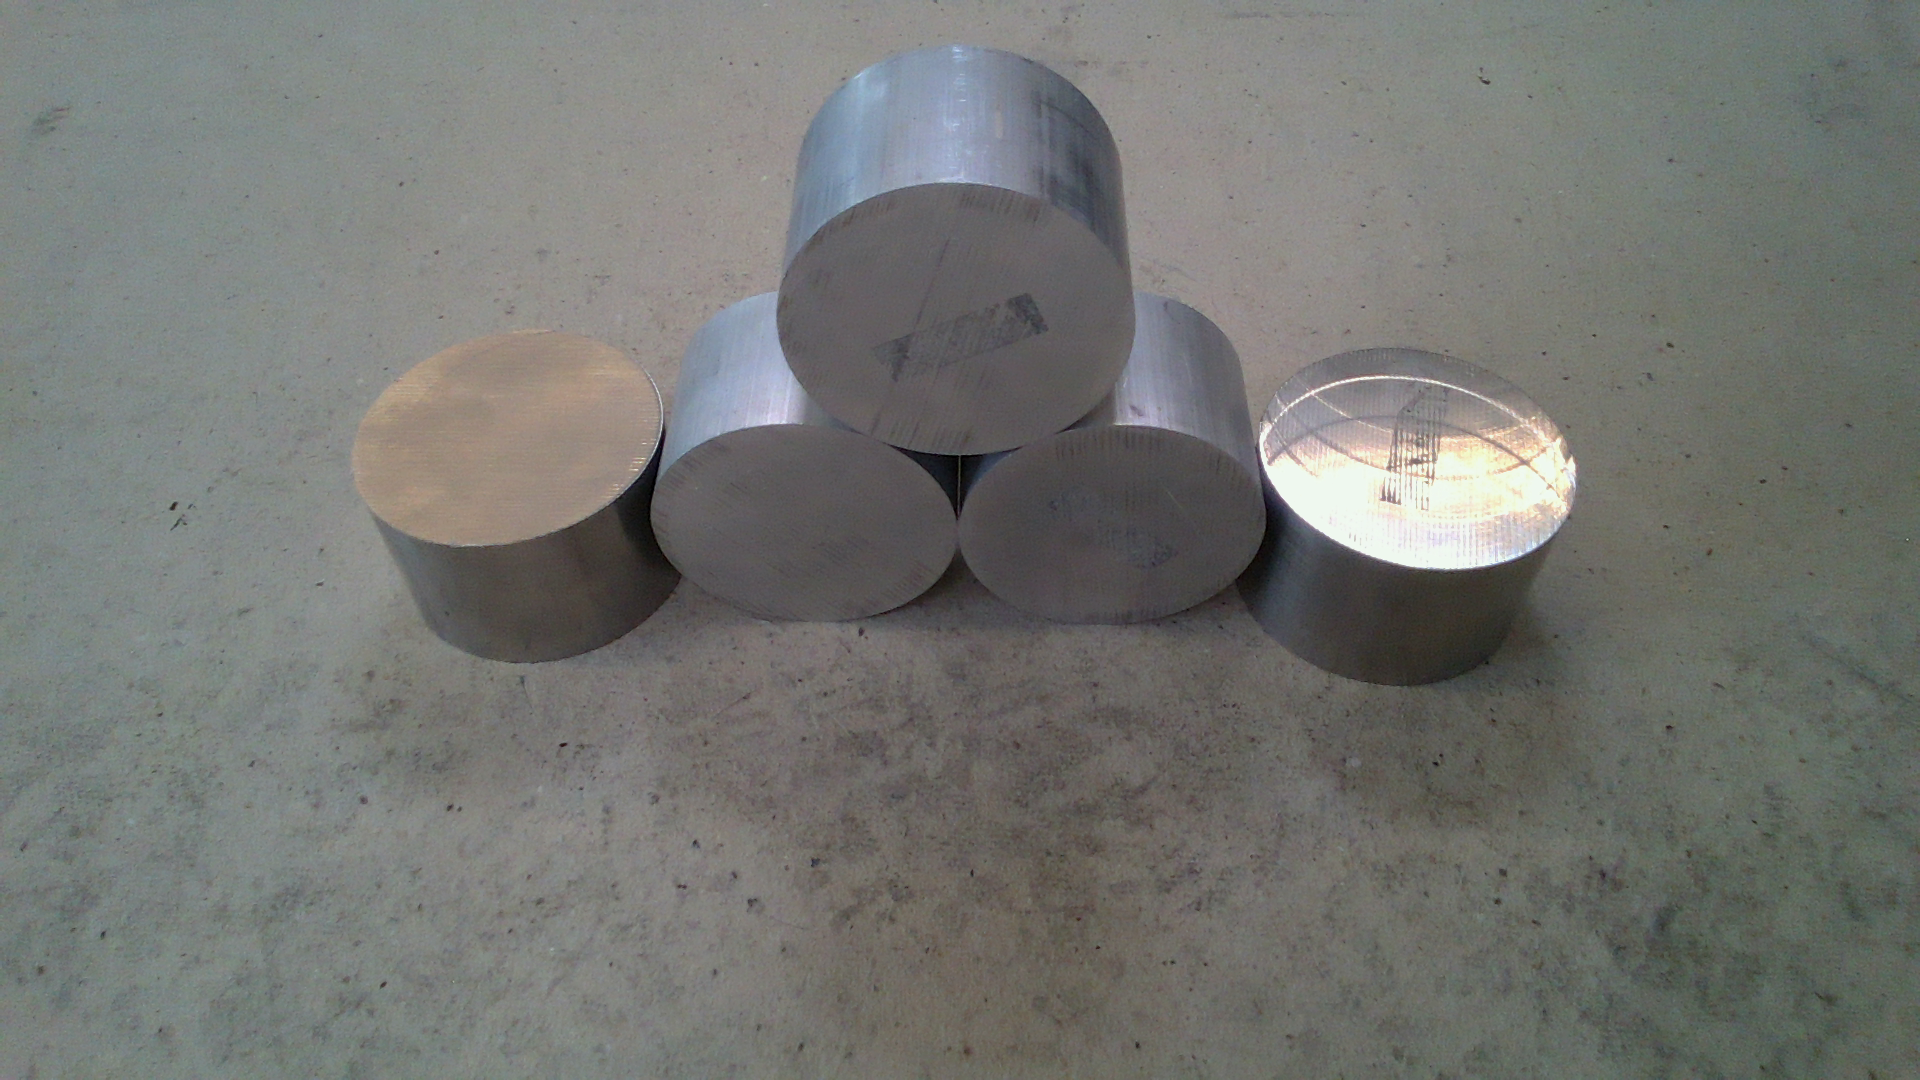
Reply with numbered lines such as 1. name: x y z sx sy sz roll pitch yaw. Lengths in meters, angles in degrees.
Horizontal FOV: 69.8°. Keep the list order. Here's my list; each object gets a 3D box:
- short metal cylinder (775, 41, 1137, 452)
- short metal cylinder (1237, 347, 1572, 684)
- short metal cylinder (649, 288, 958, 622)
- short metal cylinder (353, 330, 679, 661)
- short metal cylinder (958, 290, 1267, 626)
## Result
1. short metal cylinder: 0.000 -0.066 0.321 0.080 0.080 0.050 0 51 1
2. short metal cylinder: 0.120 -0.008 0.381 0.080 0.050 0.080 0 50 0
3. short metal cylinder: -0.040 -0.022 0.374 0.080 0.080 0.050 0 50 0
4. short metal cylinder: -0.120 -0.013 0.386 0.080 0.050 0.080 0 50 0
5. short metal cylinder: 0.040 -0.021 0.374 0.080 0.080 0.050 0 49 0
